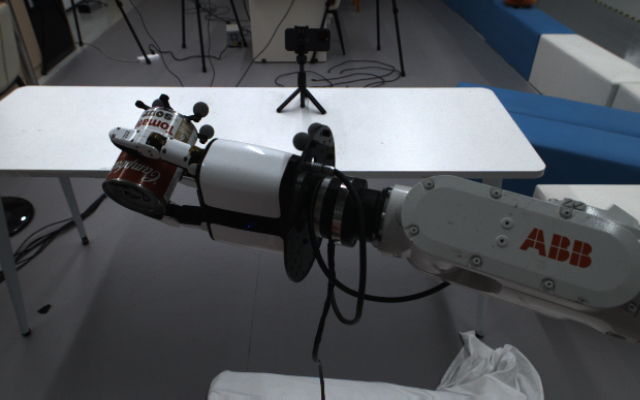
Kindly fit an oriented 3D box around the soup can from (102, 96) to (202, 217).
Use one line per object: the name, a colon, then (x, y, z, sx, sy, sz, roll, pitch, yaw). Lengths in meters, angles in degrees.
soup can: (-0.183, -0.043, 0.534, 0.067, 0.067, 0.101, 9, 60, 10)
